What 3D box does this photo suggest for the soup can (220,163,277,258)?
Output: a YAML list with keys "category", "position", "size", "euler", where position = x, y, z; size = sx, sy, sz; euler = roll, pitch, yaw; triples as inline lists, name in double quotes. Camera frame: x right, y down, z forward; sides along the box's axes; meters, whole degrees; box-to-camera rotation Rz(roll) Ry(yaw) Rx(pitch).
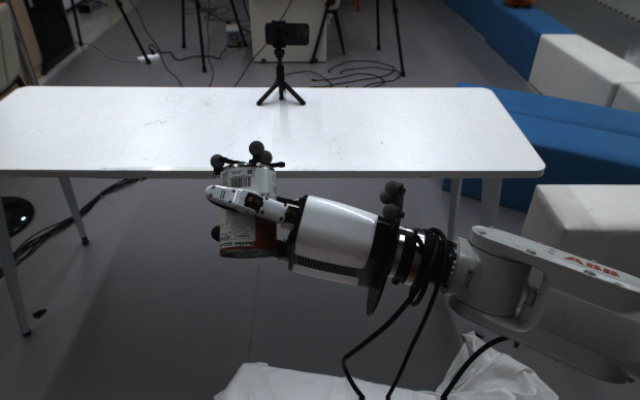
- category: "soup can"
  position: [-0.082, 0.015, 0.568]
  size: [0.067, 0.067, 0.101]
  euler: [-1, 76, -5]
